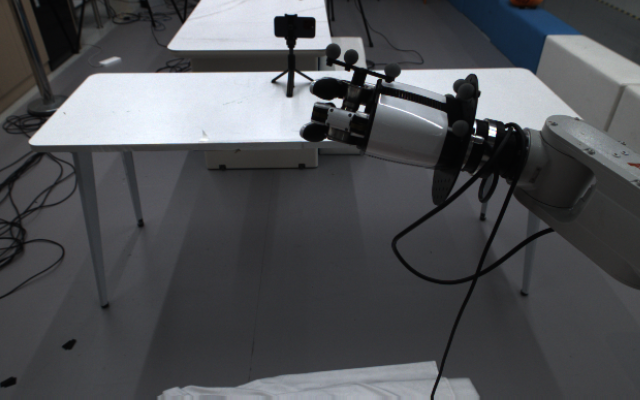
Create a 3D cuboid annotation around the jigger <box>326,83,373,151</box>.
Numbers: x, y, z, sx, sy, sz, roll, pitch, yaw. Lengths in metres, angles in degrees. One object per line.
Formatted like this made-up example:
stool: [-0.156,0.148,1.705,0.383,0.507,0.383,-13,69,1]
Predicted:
jigger: [0.037,-0.105,0.585,0.043,0.071,0.043,15,17,-5]
